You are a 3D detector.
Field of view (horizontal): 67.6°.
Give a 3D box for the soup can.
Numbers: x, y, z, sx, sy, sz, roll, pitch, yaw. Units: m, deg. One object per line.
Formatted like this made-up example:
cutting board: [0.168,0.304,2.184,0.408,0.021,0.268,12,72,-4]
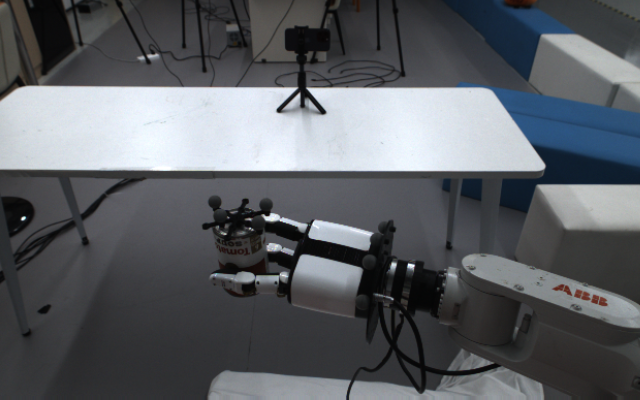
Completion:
soup can: [-0.102,0.070,0.647,0.067,0.101,0.067,-2,33,1]
